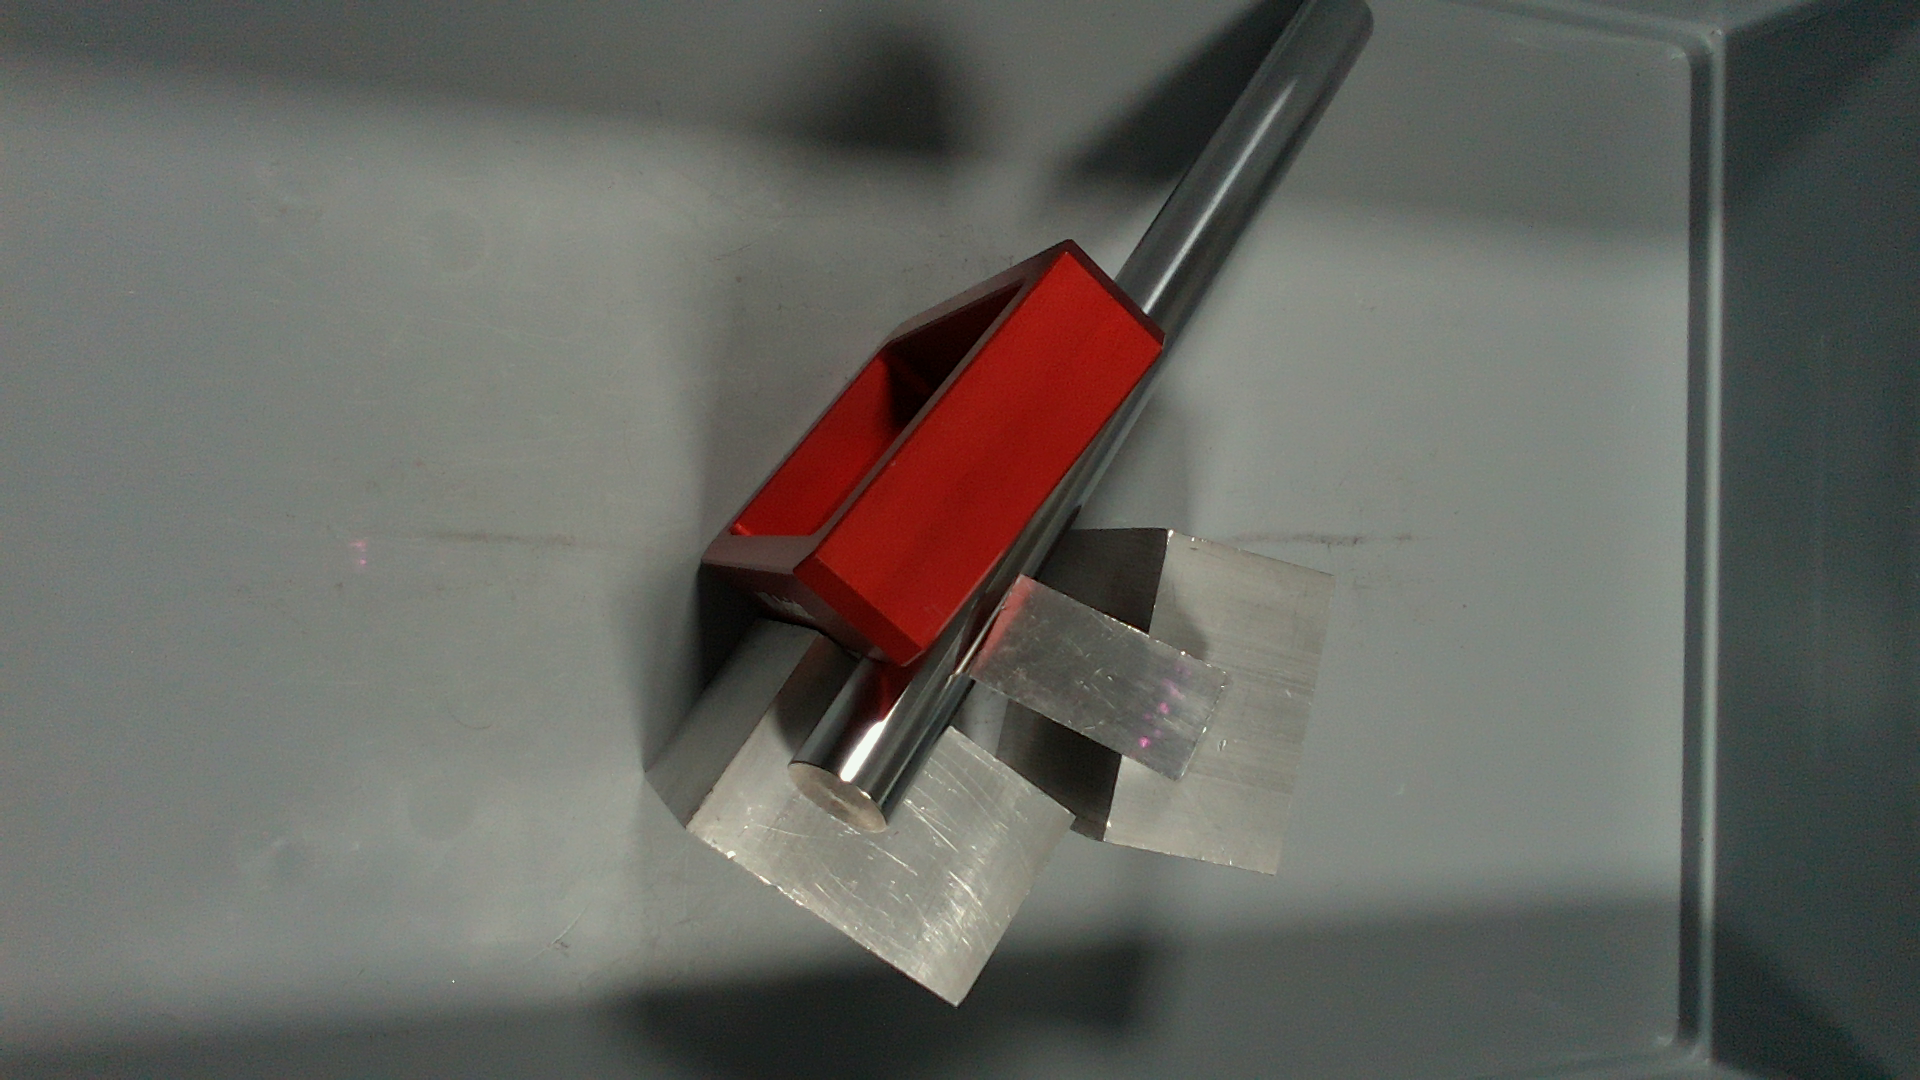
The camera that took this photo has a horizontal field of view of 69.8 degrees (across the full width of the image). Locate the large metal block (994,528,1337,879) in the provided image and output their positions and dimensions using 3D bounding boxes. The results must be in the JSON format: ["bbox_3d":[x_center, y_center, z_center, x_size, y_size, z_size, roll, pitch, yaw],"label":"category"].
[{"bbox_3d":[0.053,0.042,0.384,0.050,0.080,0.080,14,85,-19],"label":"large metal block"}]

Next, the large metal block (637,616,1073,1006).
[{"bbox_3d":[-0.030,0.065,0.354,0.080,0.080,0.050,38,78,-16],"label":"large metal block"}]

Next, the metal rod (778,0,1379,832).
[{"bbox_3d":[0.046,-0.055,0.362,0.025,0.025,0.301,43,60,-15],"label":"metal rod"}]

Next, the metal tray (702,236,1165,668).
[{"bbox_3d":[-0.014,-0.019,0.331,0.030,0.130,0.090,42,78,-14],"label":"metal tray"}]

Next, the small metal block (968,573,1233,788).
[{"bbox_3d":[0.034,0.032,0.313,0.050,0.050,0.025,26,89,14],"label":"small metal block"}]
